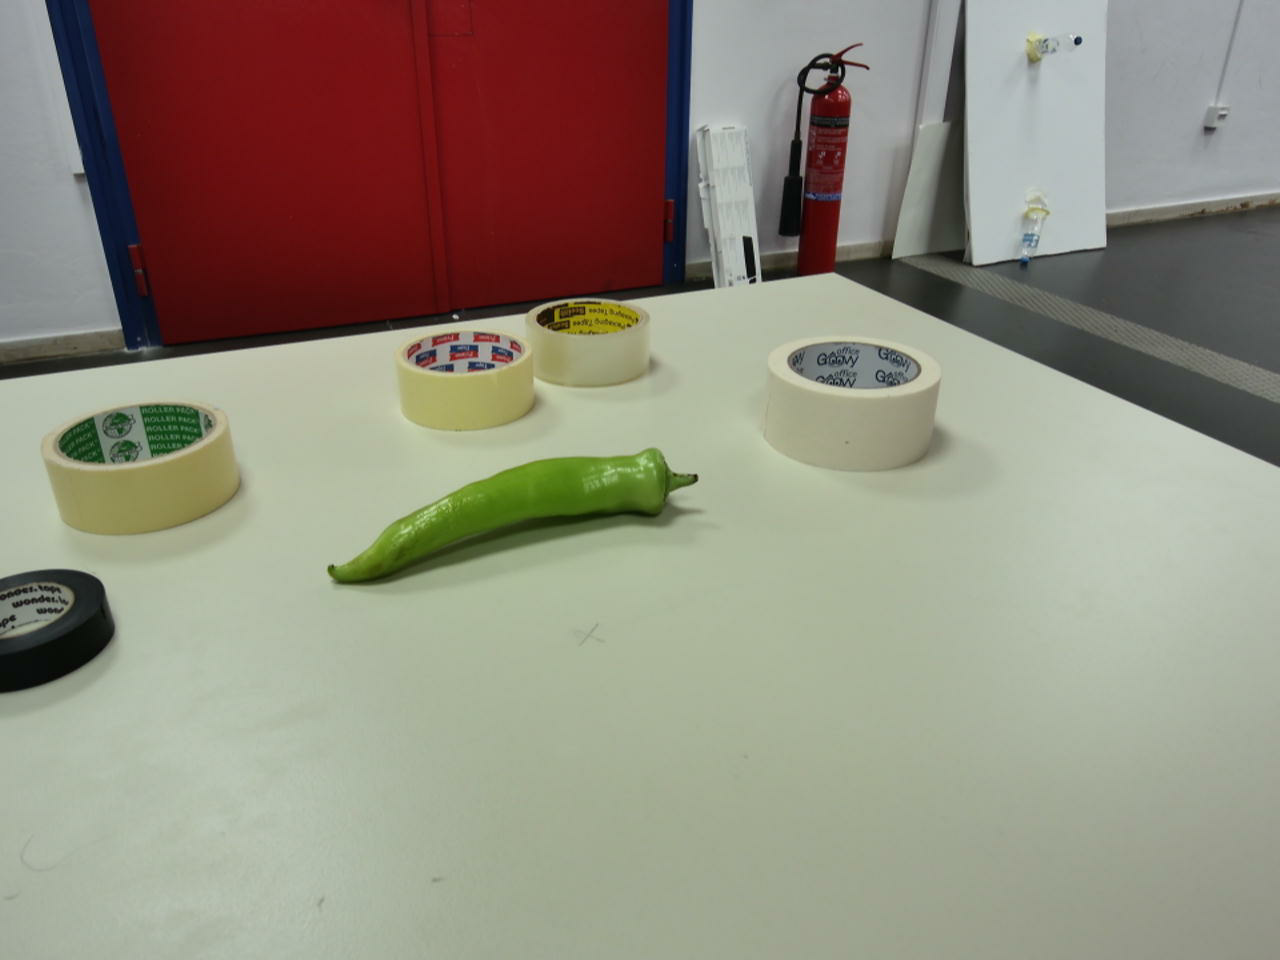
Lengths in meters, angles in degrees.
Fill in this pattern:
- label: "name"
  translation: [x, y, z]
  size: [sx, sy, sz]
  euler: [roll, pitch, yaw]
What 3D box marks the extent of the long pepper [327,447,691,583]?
- label: "long pepper"
  translation: [-0.064, 0.013, 0.519]
  size: [0.197, 0.038, 0.047]
  euler: [-10, 28, -21]
